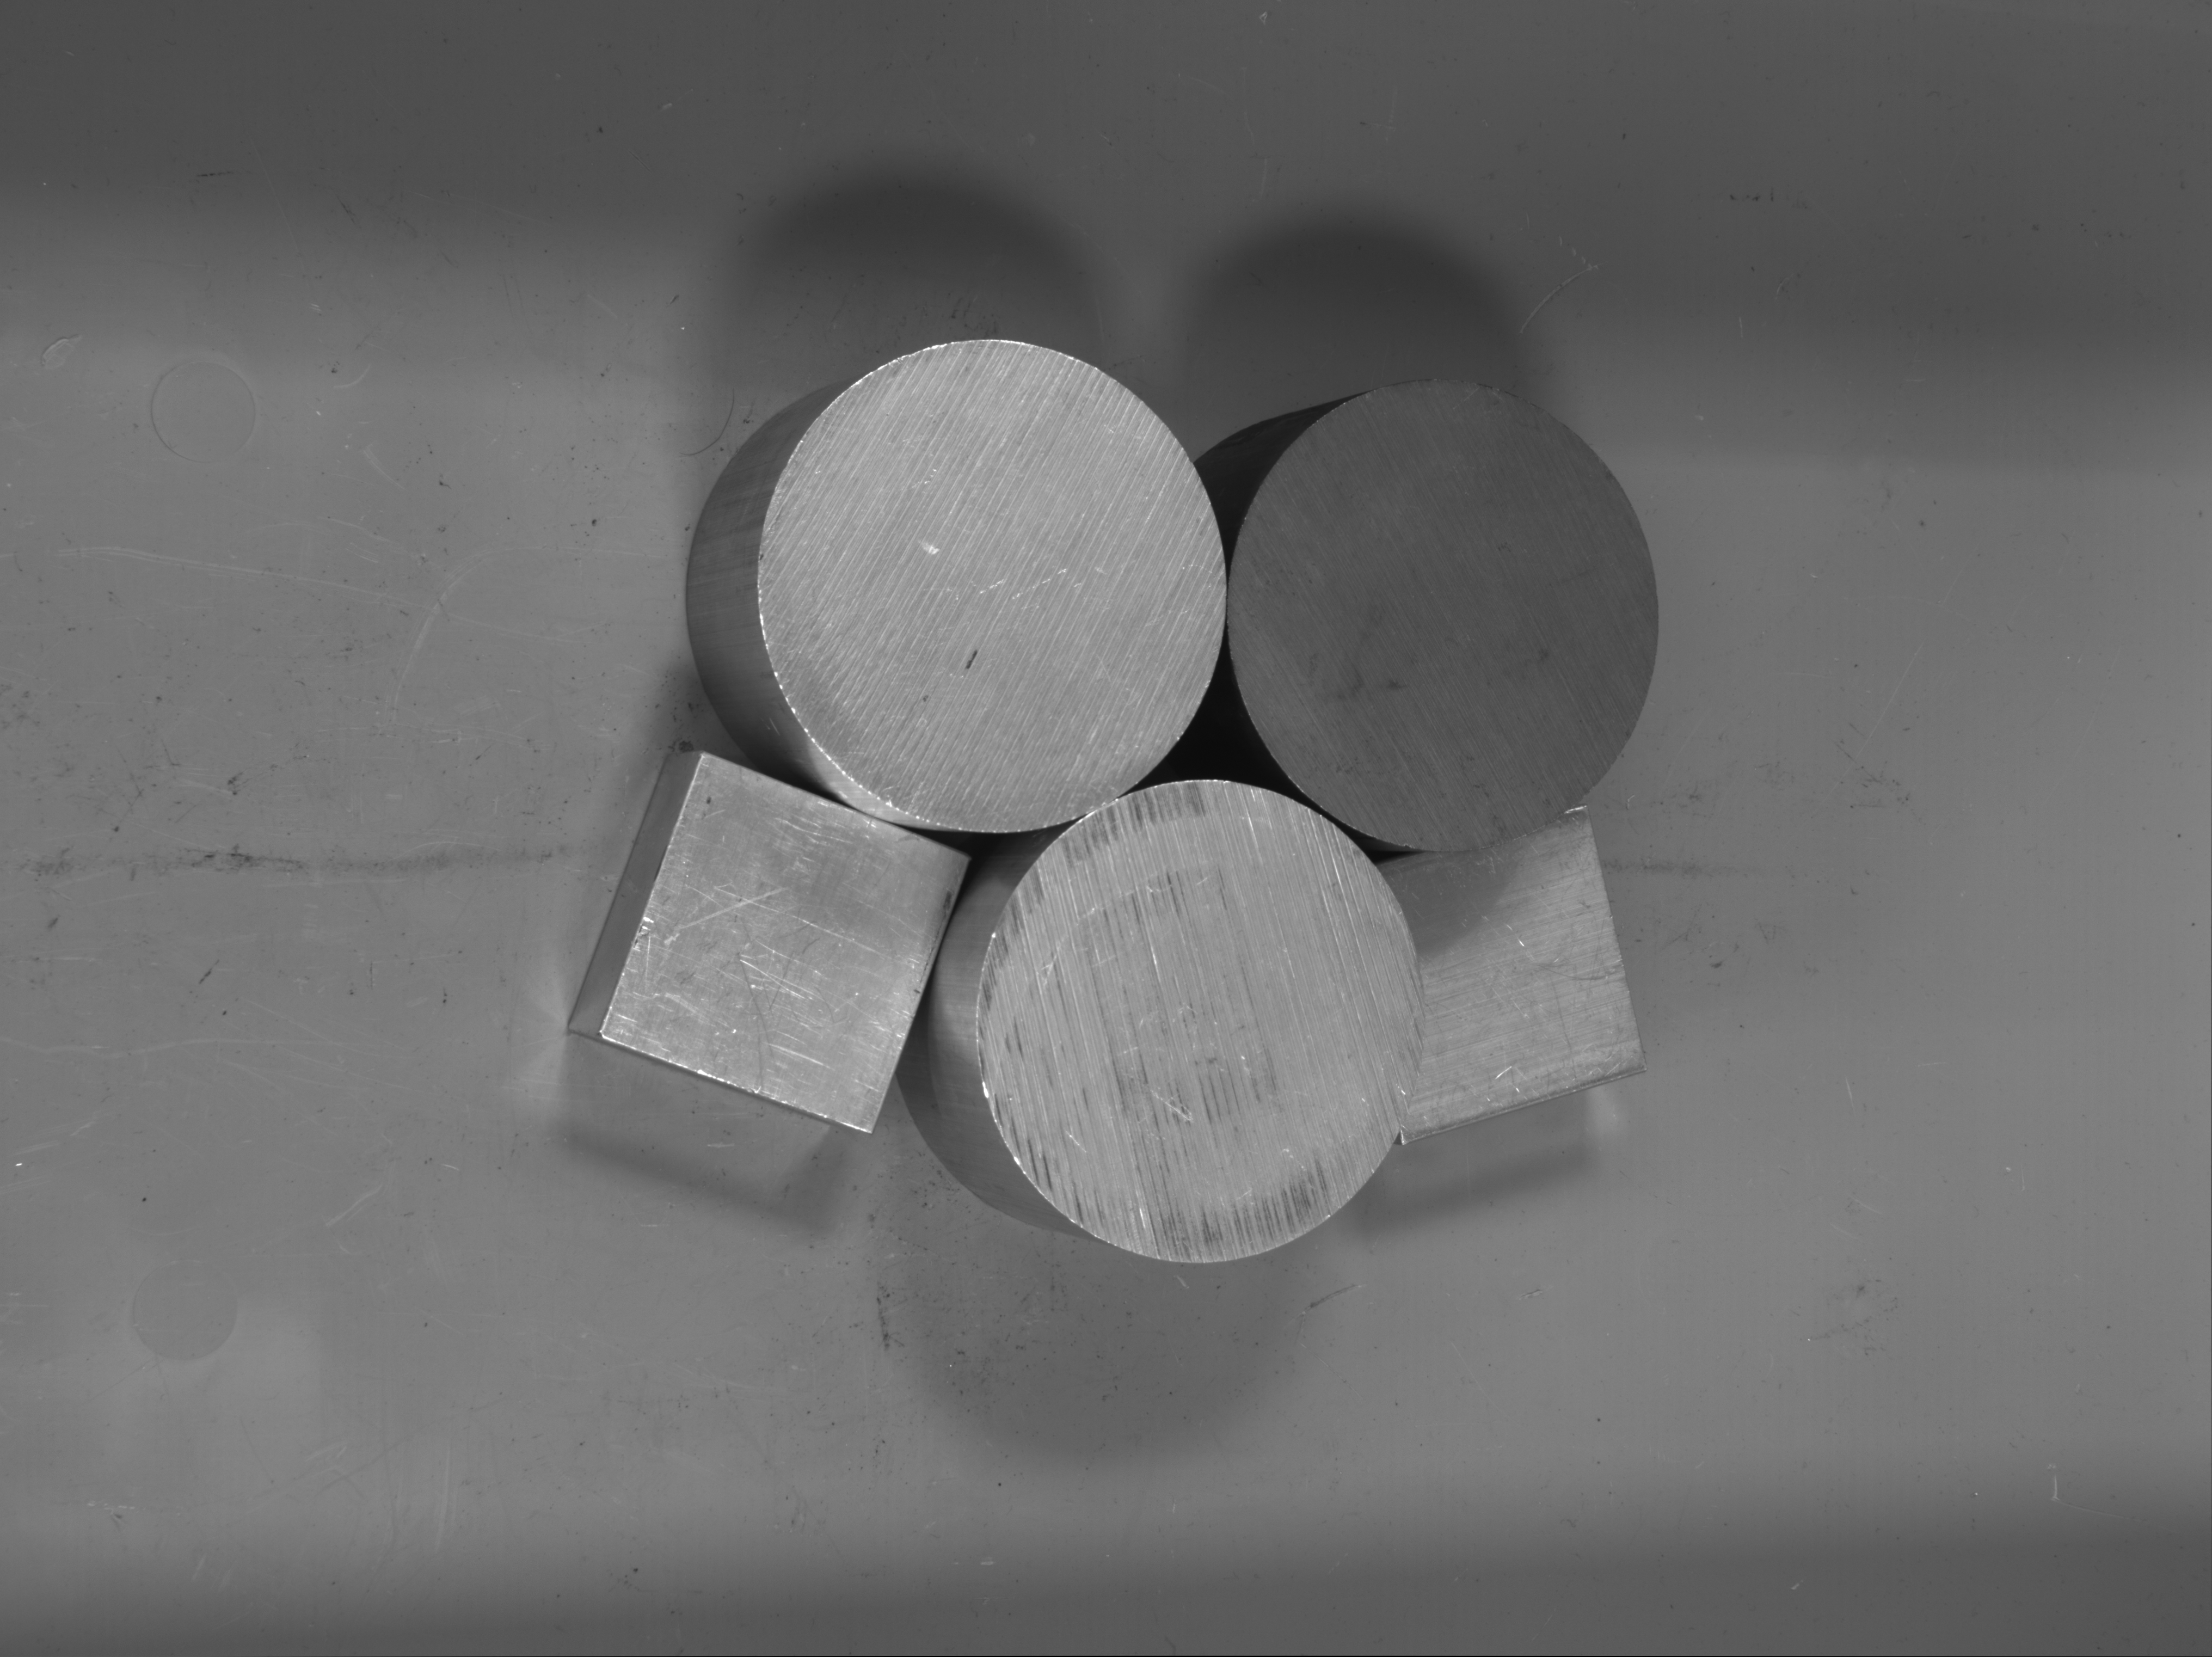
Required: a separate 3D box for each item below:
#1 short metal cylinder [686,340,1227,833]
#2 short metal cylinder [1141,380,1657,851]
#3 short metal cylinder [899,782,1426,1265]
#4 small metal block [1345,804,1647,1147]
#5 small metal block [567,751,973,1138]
[{"bbox_3d":[-0.026,-0.039,0.620,0.080,0.050,0.080,0,90,-20],"label":"short metal cylinder"},{"bbox_3d":[0.050,-0.036,0.647,0.080,0.050,0.080,0,90,-20],"label":"short metal cylinder"},{"bbox_3d":[0.008,0.032,0.632,0.080,0.050,0.080,0,90,-20],"label":"short metal cylinder"},{"bbox_3d":[0.065,0.026,0.666,0.050,0.025,0.050,-15,95,-19],"label":"small metal block"},{"bbox_3d":[-0.057,0.020,0.622,0.050,0.025,0.050,22,83,-18],"label":"small metal block"}]
